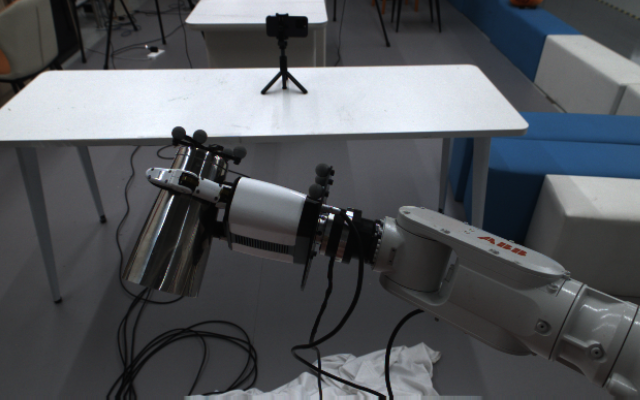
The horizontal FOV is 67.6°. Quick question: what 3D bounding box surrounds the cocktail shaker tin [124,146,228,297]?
[{"bbox_3d":[-0.166,0.024,0.597,0.093,0.093,0.170,13,79,15],"label":"cocktail shaker tin"}]
